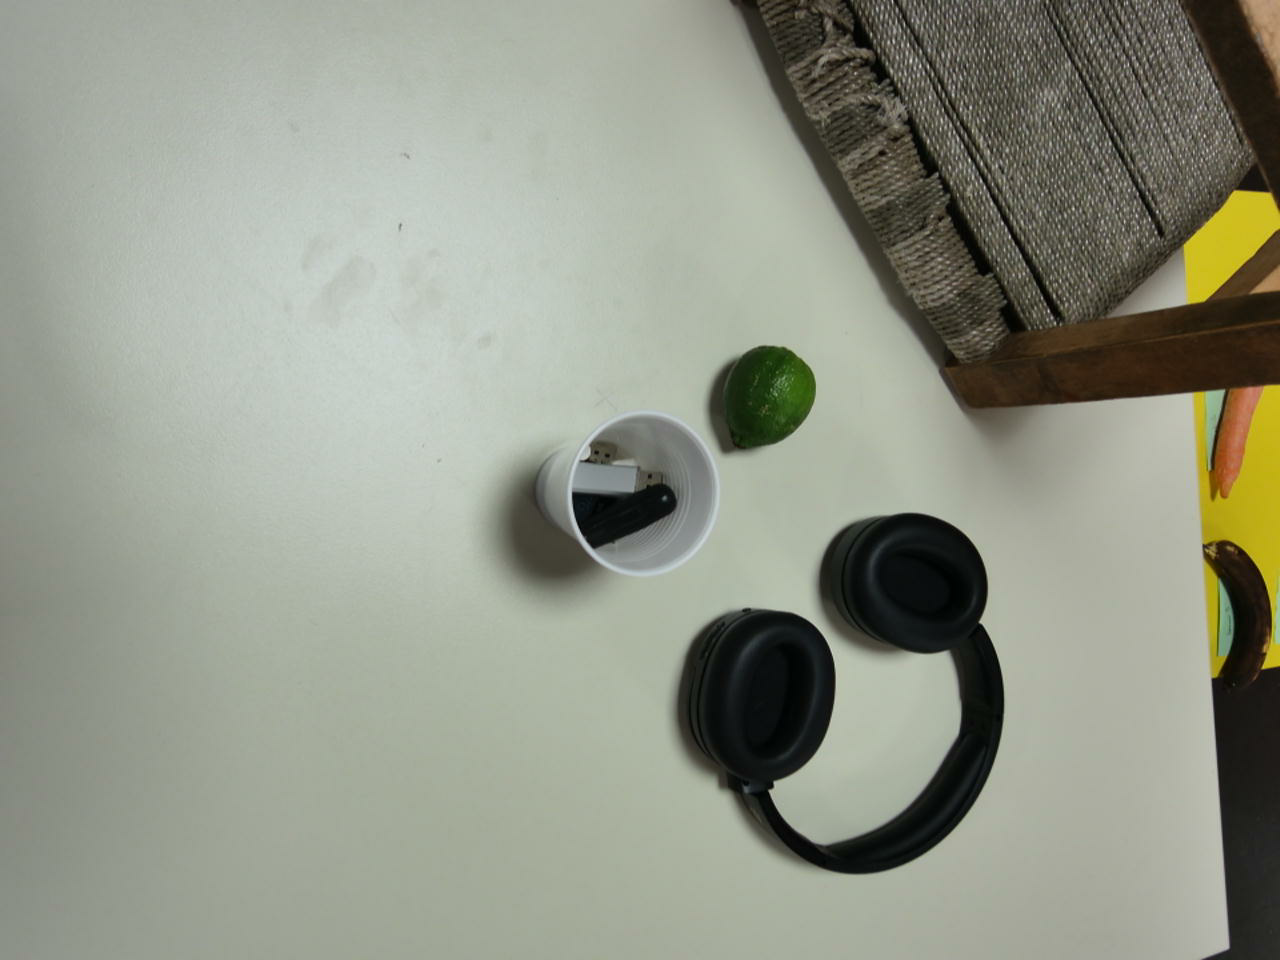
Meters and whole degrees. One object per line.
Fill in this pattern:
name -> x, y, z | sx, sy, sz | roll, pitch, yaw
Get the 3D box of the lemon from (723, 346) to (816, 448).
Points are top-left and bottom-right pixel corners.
lemon -> 0.075, -0.049, 0.578 | 0.054, 0.051, 0.057 | -10, 95, -22
